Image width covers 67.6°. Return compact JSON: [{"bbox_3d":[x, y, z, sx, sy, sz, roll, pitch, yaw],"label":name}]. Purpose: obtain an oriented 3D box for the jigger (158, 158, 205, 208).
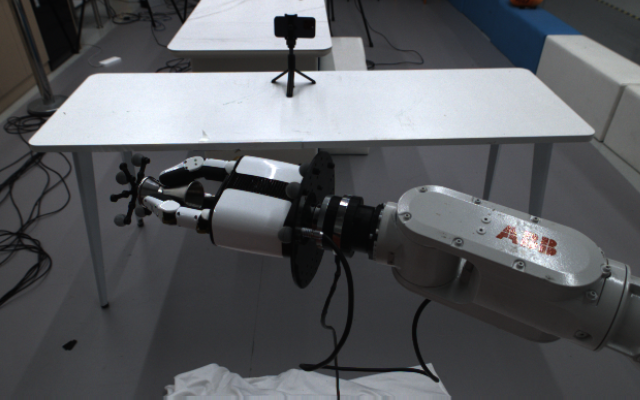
[{"bbox_3d":[-0.179,-0.008,0.600,0.071,0.043,0.043,7,35,16],"label":"jigger"}]
